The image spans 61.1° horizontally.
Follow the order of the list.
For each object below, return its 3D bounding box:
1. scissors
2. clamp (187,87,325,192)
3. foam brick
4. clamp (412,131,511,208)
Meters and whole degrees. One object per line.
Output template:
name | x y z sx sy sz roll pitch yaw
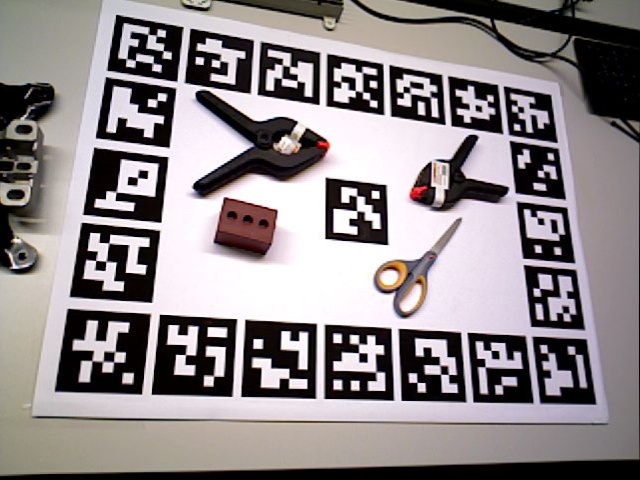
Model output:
scissors | 0.156 0.034 0.818 0.088 0.016 0.199 46 67 -6
clamp | -0.092 -0.142 0.799 0.200 0.037 0.164 2 70 -15
foam brick | -0.110 -0.016 0.751 0.077 0.052 0.052 12 71 -6
clamp | 0.220 -0.098 0.872 0.162 0.037 0.122 -23 87 -19
